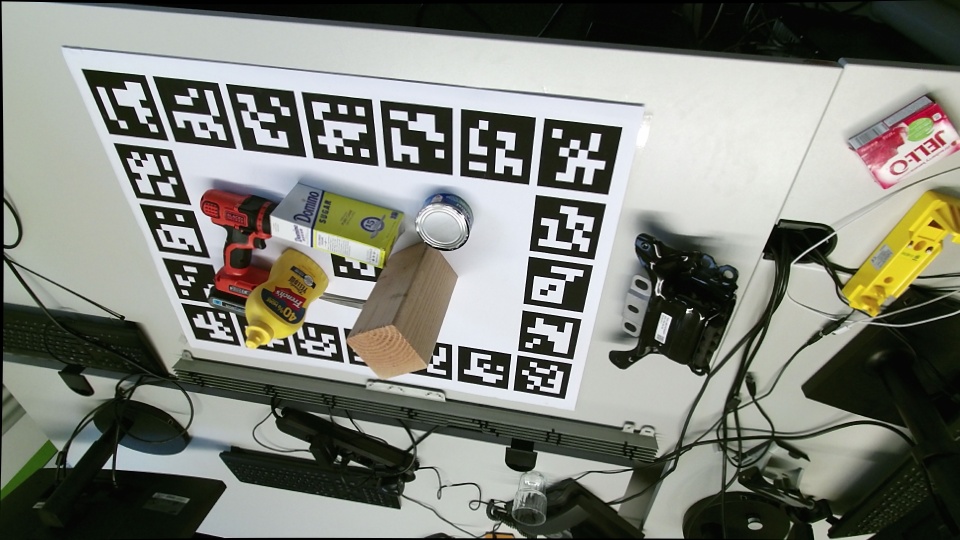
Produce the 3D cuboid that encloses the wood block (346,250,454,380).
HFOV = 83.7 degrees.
[{"bbox_3d":[-0.118,0.064,0.832,0.091,0.205,0.090,-17,118,21],"label":"wood block"}]

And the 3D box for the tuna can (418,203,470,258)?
[{"bbox_3d":[-0.059,-0.059,0.824,0.086,0.033,0.086,6,124,8],"label":"tuna can"}]

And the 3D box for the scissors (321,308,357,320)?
[{"bbox_3d":[-0.189,0.087,0.966,0.203,0.016,0.088,10,130,5],"label":"scissors"}]

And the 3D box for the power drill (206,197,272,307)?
[{"bbox_3d":[-0.370,-0.019,0.904,0.185,0.057,0.187,19,119,-2],"label":"power drill"}]

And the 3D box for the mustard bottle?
[{"bbox_3d":[-0.336,0.062,0.881,0.058,0.191,0.096,-29,113,26],"label":"mustard bottle"}]

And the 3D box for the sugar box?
[{"bbox_3d":[-0.227,-0.061,0.826,0.177,0.092,0.045,18,129,0],"label":"sugar box"}]
